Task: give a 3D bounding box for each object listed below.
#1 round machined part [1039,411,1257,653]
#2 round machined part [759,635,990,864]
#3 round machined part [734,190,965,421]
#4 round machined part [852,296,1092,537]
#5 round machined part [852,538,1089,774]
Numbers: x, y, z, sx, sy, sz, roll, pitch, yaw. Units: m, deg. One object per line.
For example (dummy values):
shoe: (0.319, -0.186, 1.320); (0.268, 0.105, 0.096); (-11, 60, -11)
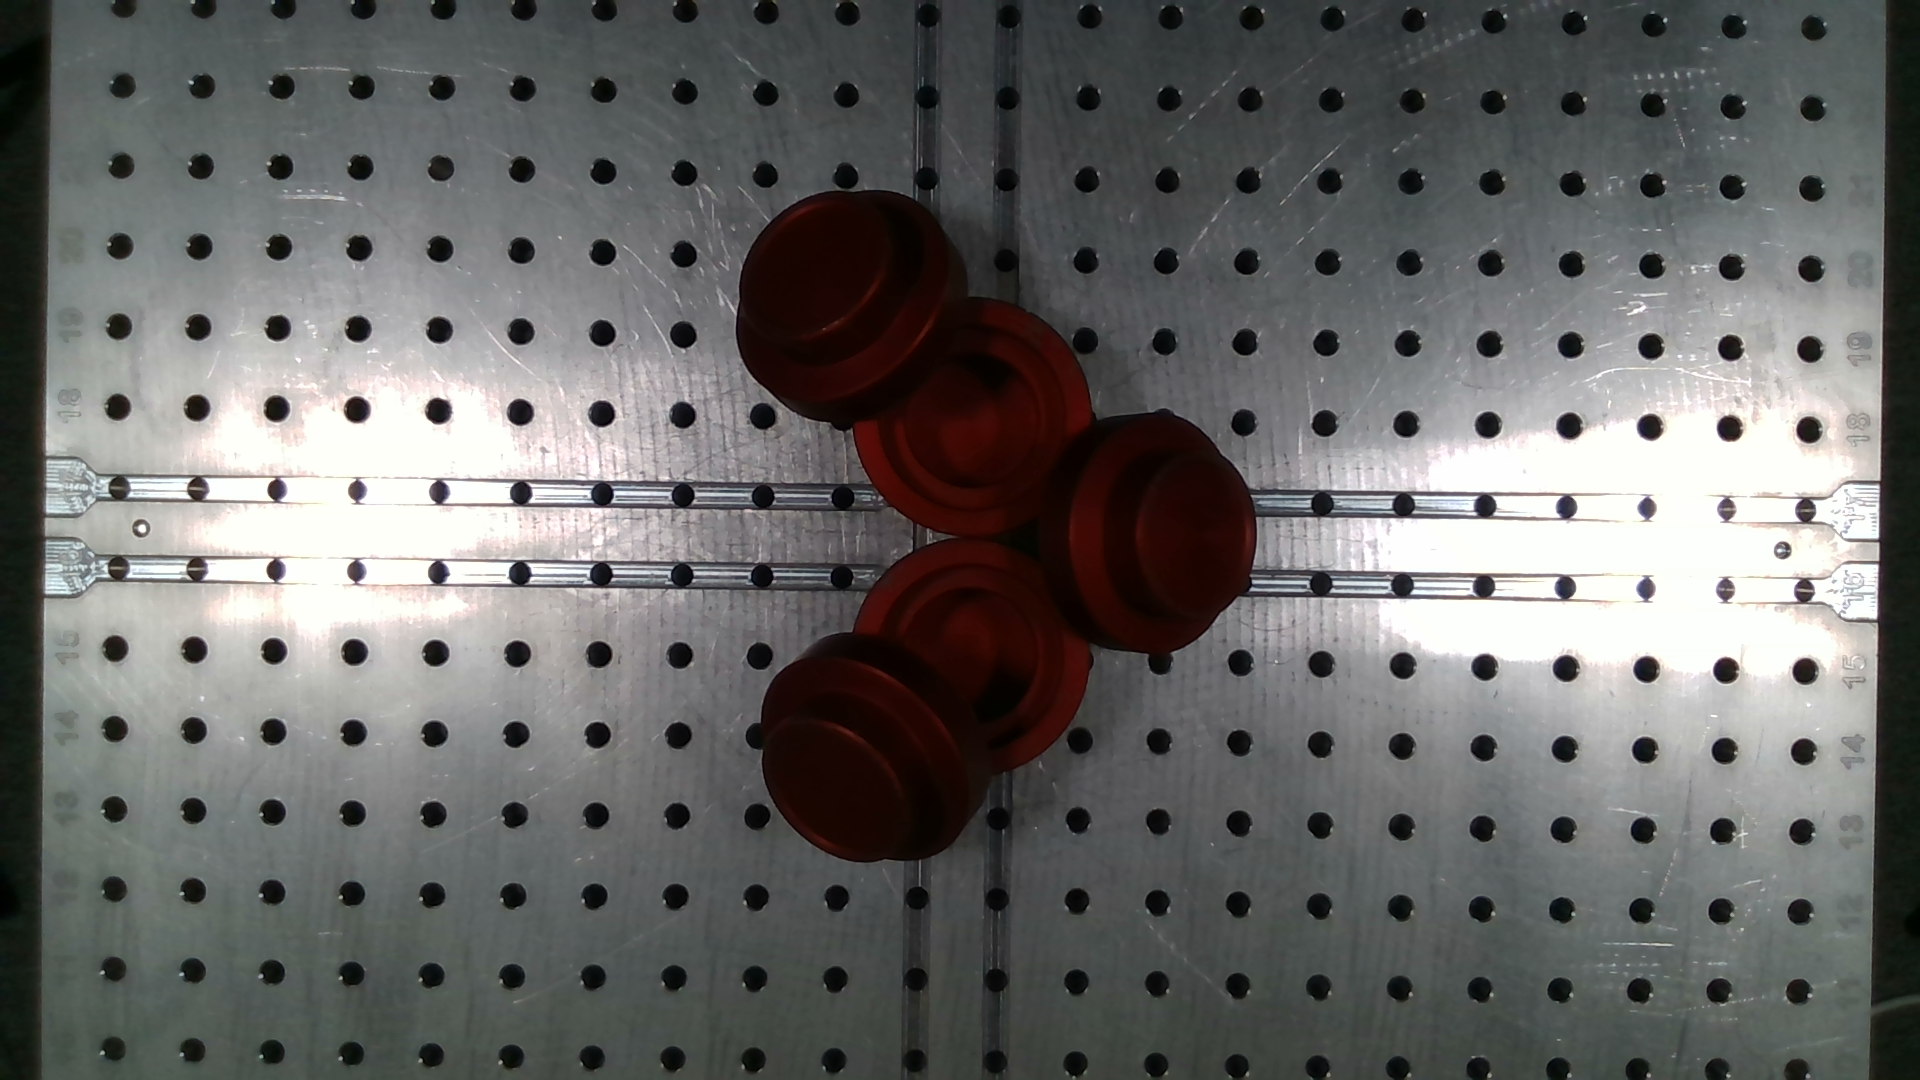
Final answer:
round machined part: (0.082, -0.003, 0.555); (0.098, 0.042, 0.098); (0, 91, -38)
round machined part: (-0.040, 0.090, 0.555); (0.098, 0.042, 0.098); (13, 121, 23)
round machined part: (-0.050, -0.101, 0.557); (0.098, 0.042, 0.098); (-11, 63, 22)
round machined part: (0.005, -0.050, 0.580); (0.098, 0.042, 0.098); (0, 90, 0)
round machined part: (0.004, 0.048, 0.581); (0.098, 0.042, 0.098); (0, 90, 0)
